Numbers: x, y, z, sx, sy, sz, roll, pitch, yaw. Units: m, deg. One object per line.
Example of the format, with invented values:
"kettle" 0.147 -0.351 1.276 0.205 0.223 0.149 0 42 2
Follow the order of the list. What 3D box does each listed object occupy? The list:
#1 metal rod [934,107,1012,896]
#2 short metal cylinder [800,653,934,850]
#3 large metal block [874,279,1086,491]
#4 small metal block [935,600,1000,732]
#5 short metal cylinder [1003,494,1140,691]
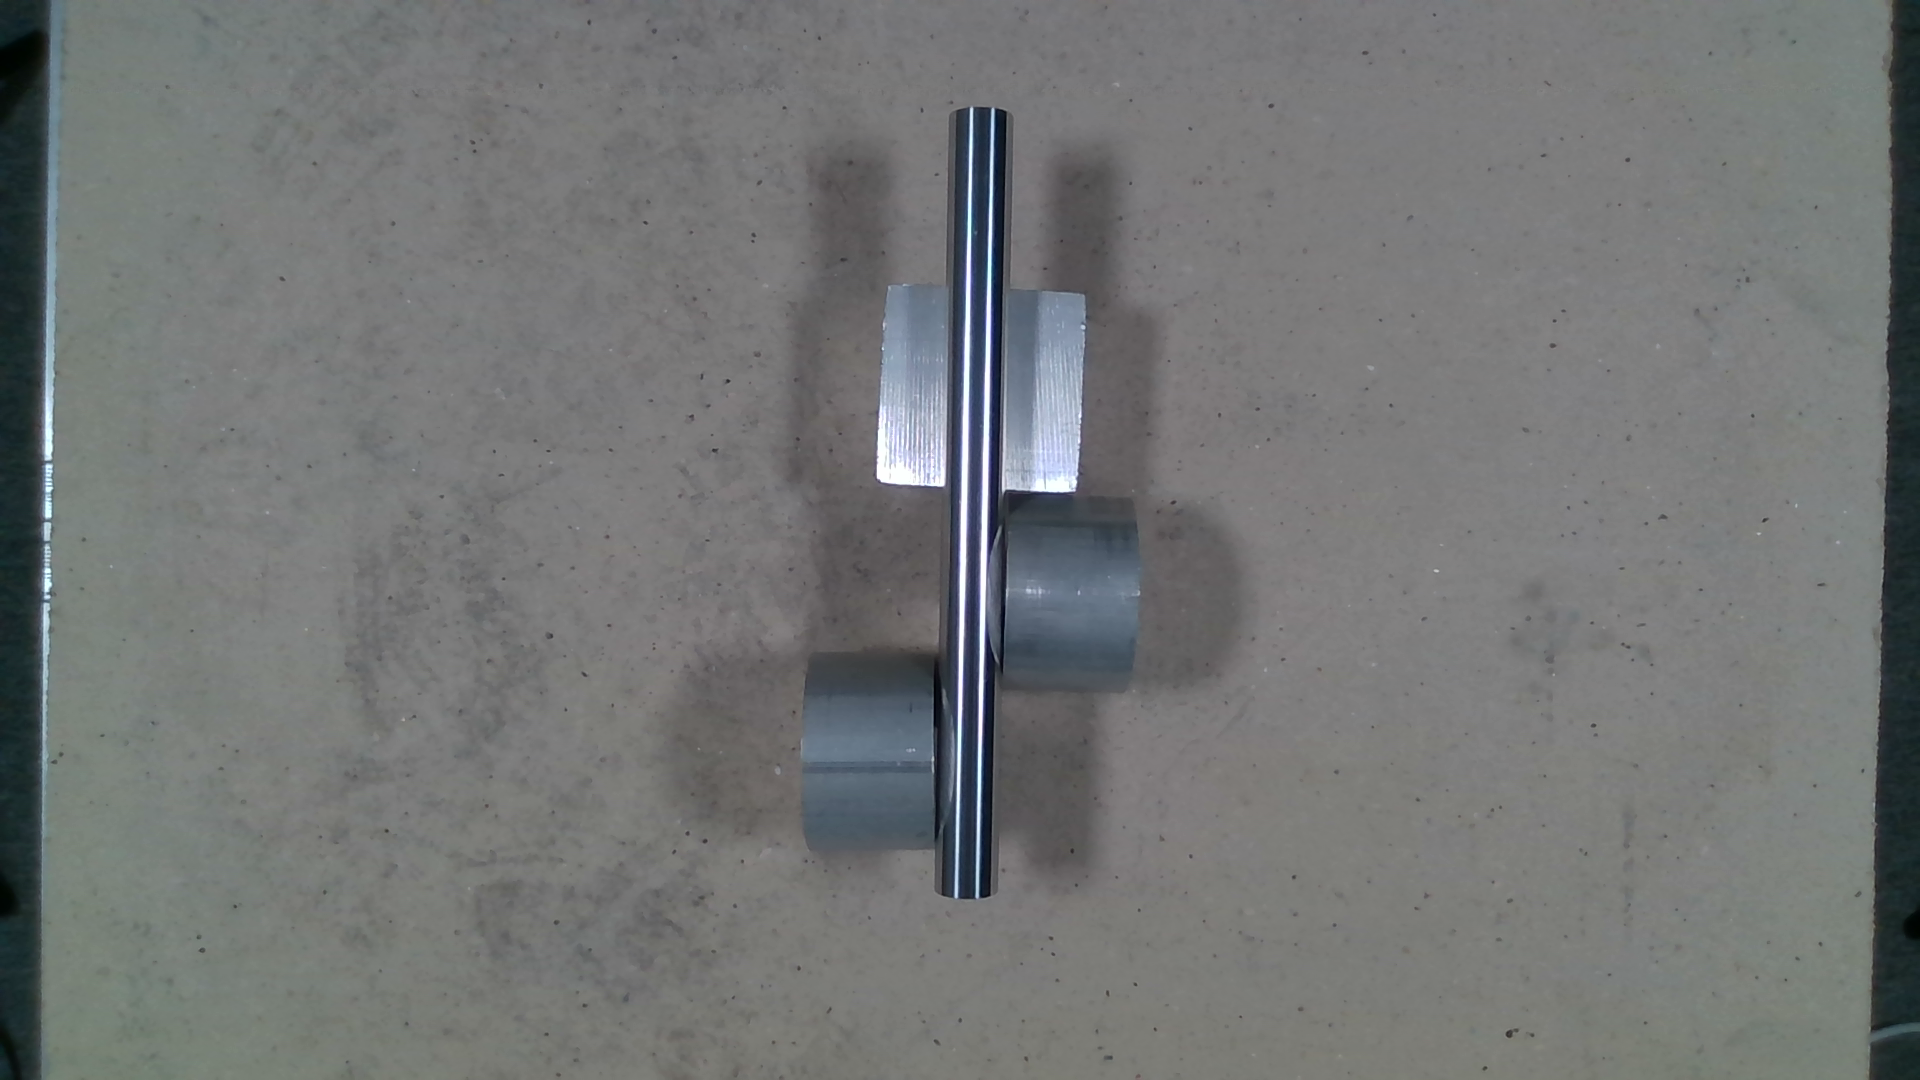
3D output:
"metal rod" 0.005 -0.014 0.536 0.025 0.025 0.300 1 92 0
"short metal cylinder" -0.035 0.085 0.560 0.050 0.080 0.080 0 90 0
"large metal block" 0.008 -0.061 0.571 0.080 0.050 0.080 3 90 0
"small metal block" 0.003 0.051 0.574 0.025 0.050 0.050 1 90 0
"short metal cylinder" 0.043 0.021 0.561 0.050 0.080 0.080 2 90 0
